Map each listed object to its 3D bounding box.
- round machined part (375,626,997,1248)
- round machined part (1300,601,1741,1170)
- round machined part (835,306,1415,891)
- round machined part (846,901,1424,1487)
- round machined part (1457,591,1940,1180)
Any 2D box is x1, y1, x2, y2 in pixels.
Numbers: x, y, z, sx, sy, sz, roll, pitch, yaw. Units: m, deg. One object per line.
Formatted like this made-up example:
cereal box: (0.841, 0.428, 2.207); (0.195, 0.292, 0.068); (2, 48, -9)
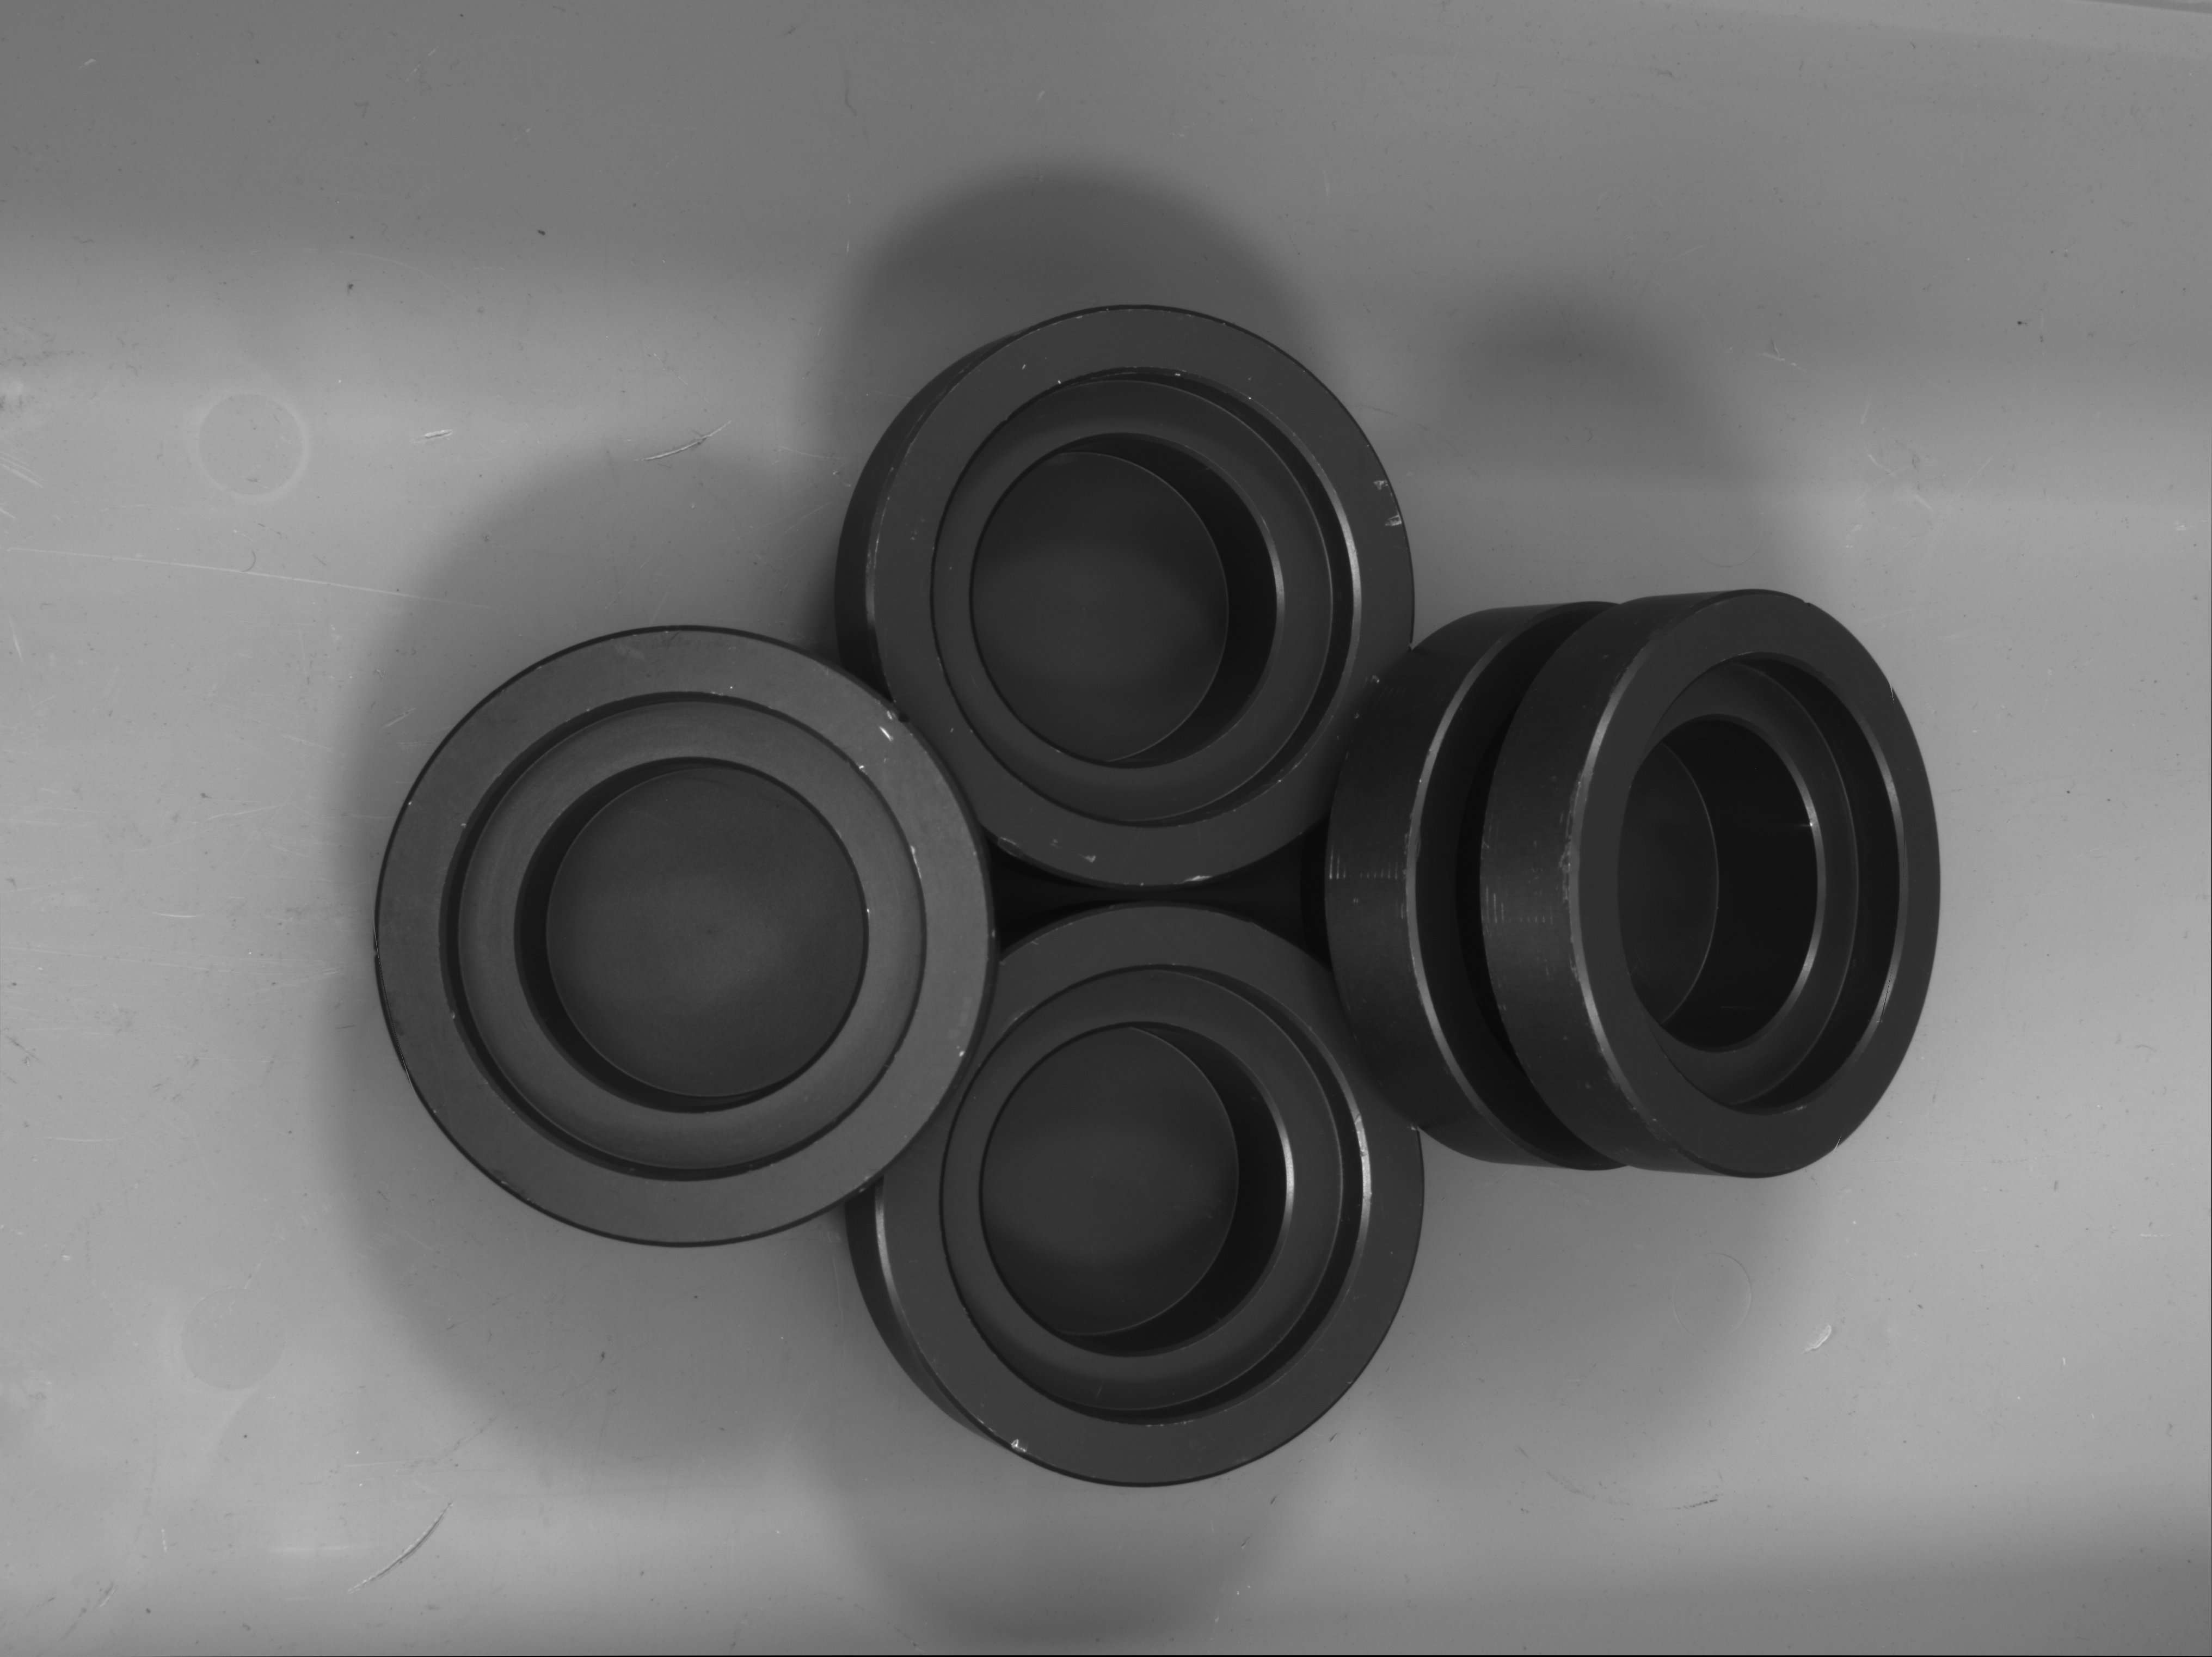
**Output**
round machined part: (-0.066, 0.017, 0.598); (0.098, 0.042, 0.098); (0, 89, 1)
round machined part: (0.073, 0.010, 0.648); (0.098, 0.042, 0.098); (1, 89, -42)
round machined part: (0.000, -0.038, 0.632); (0.098, 0.042, 0.098); (0, 90, -20)
round machined part: (0.002, 0.061, 0.632); (0.098, 0.042, 0.098); (0, 90, -20)
round machined part: (0.096, 0.010, 0.626); (0.098, 0.042, 0.098); (0, 90, -42)
